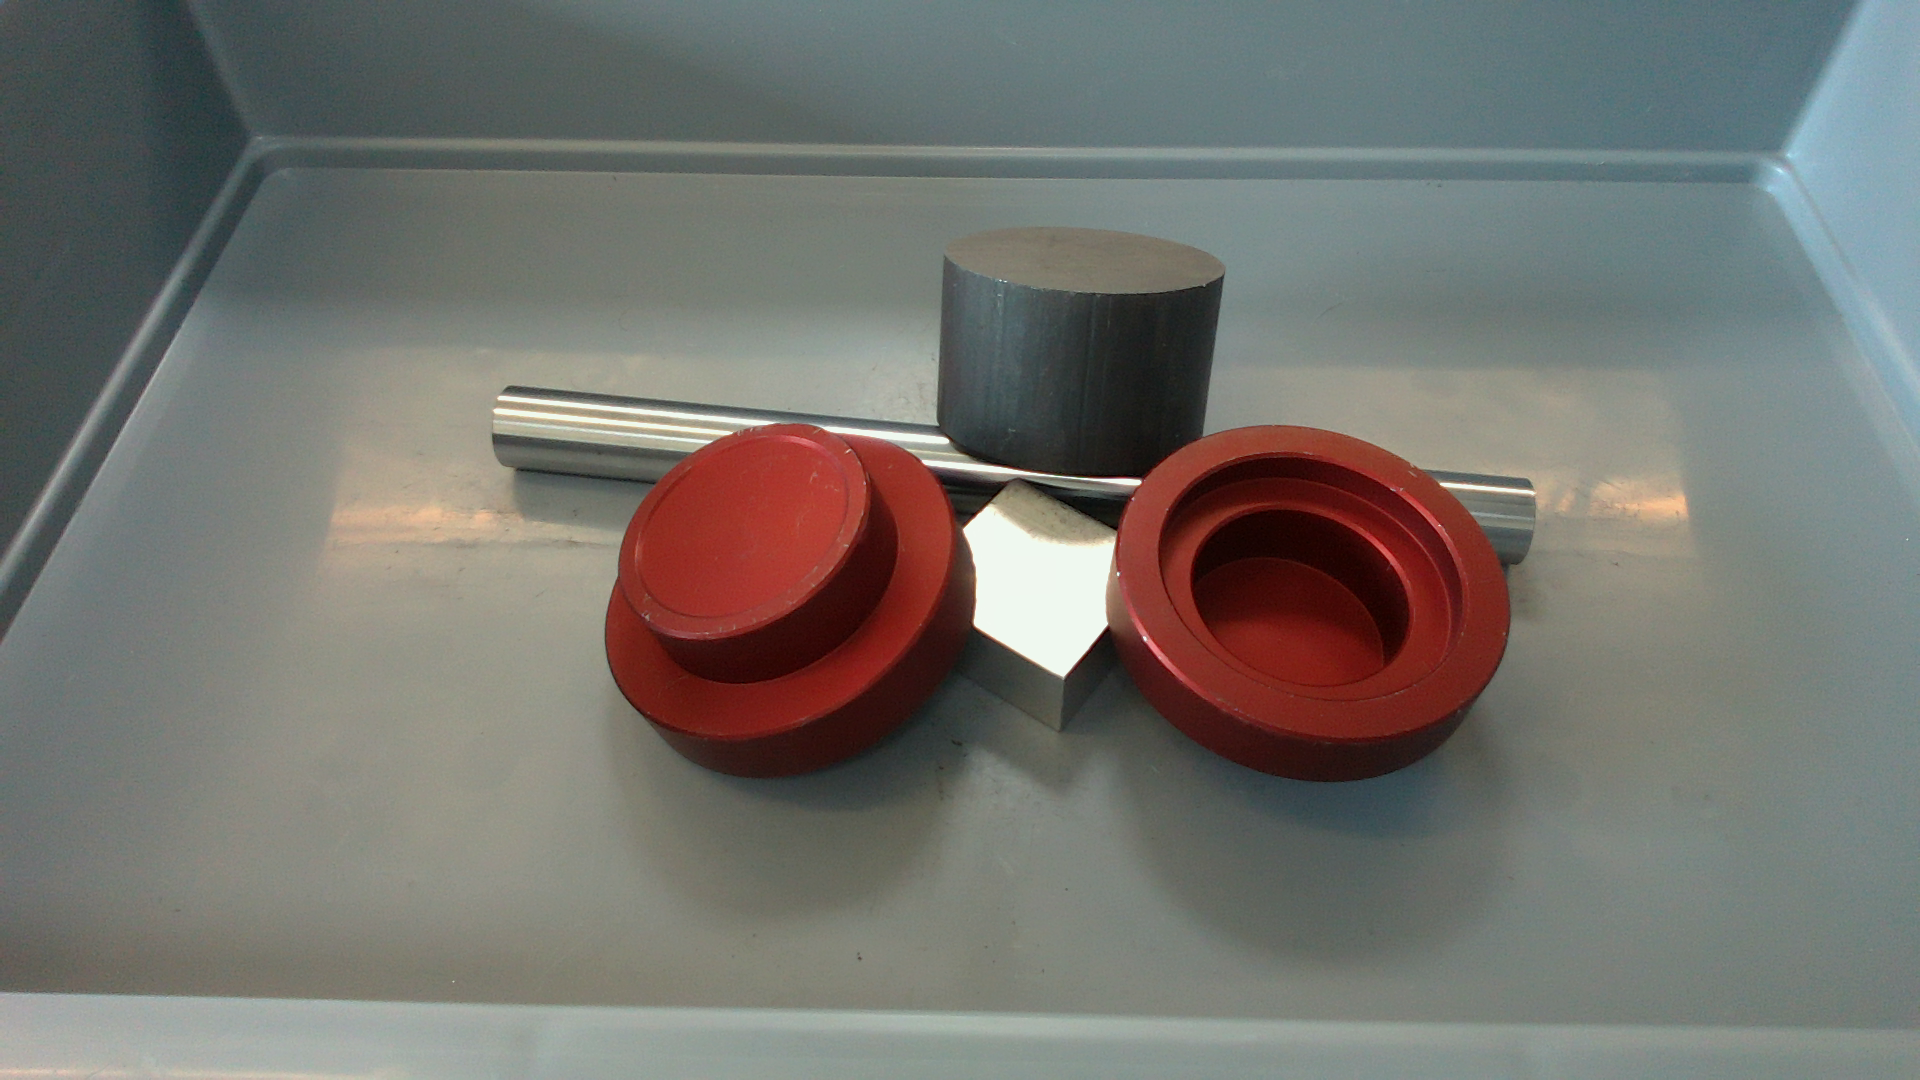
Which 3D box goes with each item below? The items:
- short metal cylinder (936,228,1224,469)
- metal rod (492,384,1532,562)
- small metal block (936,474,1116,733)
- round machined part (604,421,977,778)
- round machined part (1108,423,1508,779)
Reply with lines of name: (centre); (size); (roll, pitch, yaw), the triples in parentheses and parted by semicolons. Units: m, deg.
short metal cylinder: (0.034, -0.059, 0.404); (0.080, 0.050, 0.080); (3, 24, -1)
metal rod: (0.011, -0.021, 0.407); (0.300, 0.025, 0.025); (6, 50, 5)
small metal block: (0.021, 0.016, 0.376); (0.050, 0.025, 0.050); (29, 56, 22)
round machined part: (-0.048, 0.008, 0.355); (0.098, 0.042, 0.098); (-12, 49, 14)
round machined part: (0.087, 0.019, 0.360); (0.098, 0.042, 0.098); (2, 52, -2)
